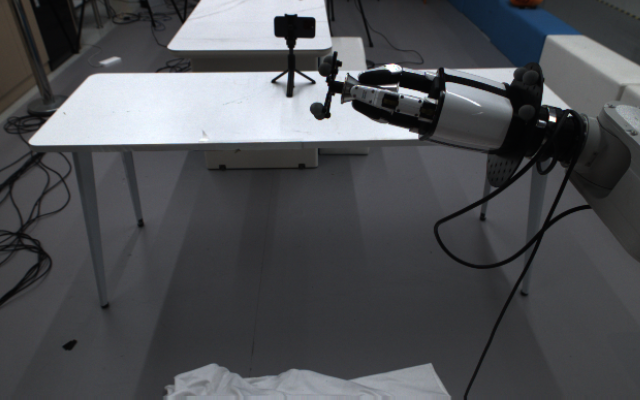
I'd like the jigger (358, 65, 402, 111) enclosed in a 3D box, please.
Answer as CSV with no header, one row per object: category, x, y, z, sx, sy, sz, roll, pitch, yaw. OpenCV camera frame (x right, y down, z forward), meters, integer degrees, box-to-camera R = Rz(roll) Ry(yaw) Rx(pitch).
jigger,0.070,-0.139,0.621,0.071,0.043,0.043,12,36,5
